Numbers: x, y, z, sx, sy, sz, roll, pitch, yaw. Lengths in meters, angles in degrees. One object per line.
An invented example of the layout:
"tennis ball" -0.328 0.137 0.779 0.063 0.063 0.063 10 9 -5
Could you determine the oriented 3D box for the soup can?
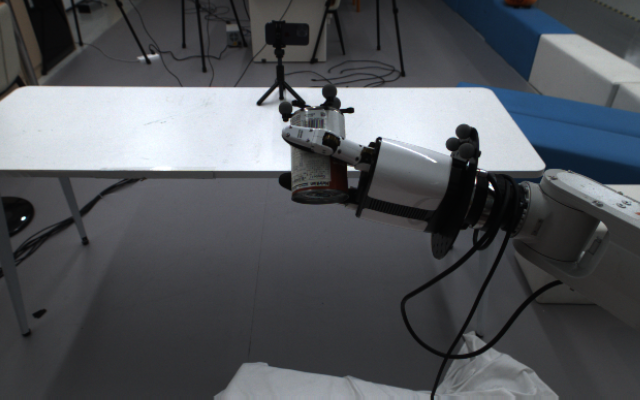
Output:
"soup can" 0.001 -0.052 0.575 0.067 0.067 0.101 -2 77 -6
